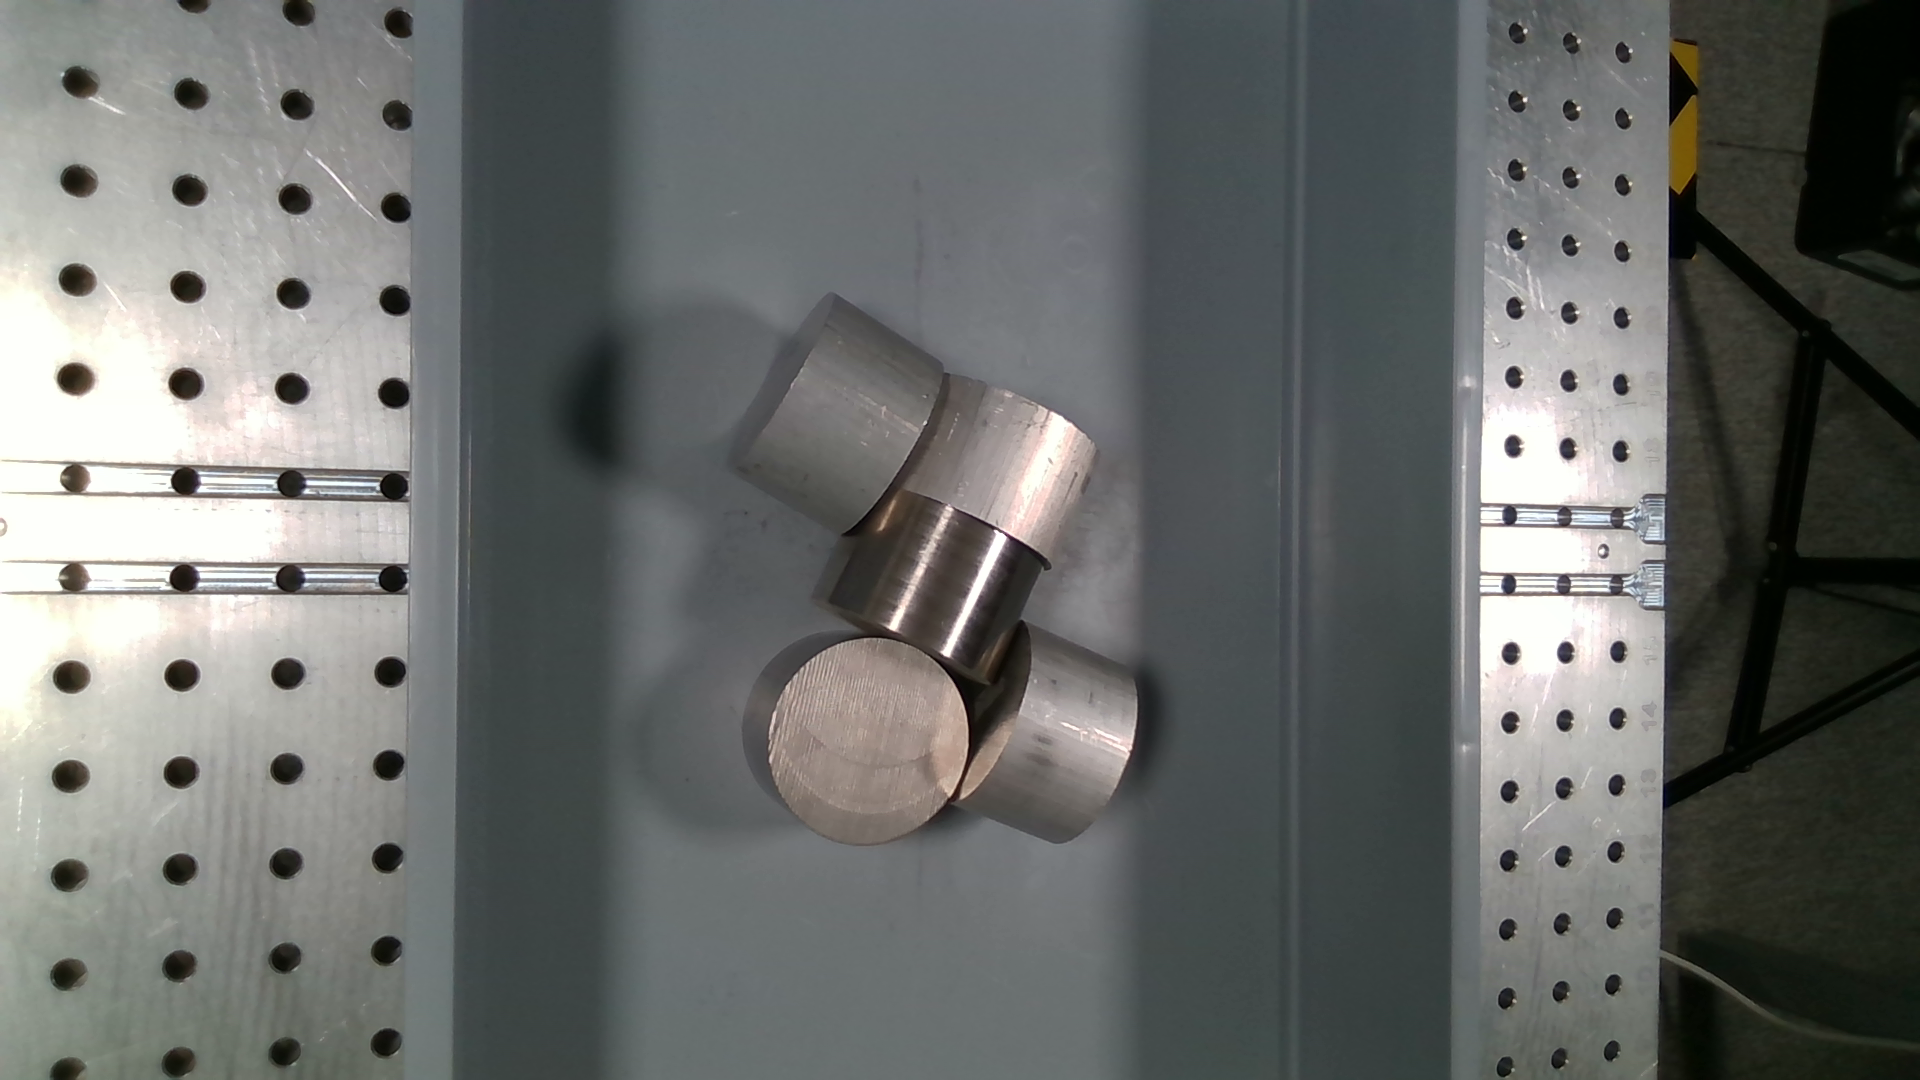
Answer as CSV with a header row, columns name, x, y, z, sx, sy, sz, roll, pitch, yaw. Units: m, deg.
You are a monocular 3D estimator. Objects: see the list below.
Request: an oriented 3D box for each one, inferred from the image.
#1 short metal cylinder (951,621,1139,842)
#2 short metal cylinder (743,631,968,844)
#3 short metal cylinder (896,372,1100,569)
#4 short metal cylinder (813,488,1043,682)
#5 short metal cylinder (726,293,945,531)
name,x,y,z,sx,sy,sz,roll,pitch,yaw
short metal cylinder,0.030,0.078,0.567,0.050,0.080,0.080,24,82,-19
short metal cylinder,-0.043,0.077,0.555,0.080,0.050,0.080,0,90,-20
short metal cylinder,0.011,-0.027,0.559,0.080,0.080,0.050,27,81,-18
short metal cylinder,-0.013,0.018,0.551,0.080,0.080,0.050,28,81,-18
short metal cylinder,-0.049,-0.050,0.537,0.050,0.080,0.080,31,80,-18
